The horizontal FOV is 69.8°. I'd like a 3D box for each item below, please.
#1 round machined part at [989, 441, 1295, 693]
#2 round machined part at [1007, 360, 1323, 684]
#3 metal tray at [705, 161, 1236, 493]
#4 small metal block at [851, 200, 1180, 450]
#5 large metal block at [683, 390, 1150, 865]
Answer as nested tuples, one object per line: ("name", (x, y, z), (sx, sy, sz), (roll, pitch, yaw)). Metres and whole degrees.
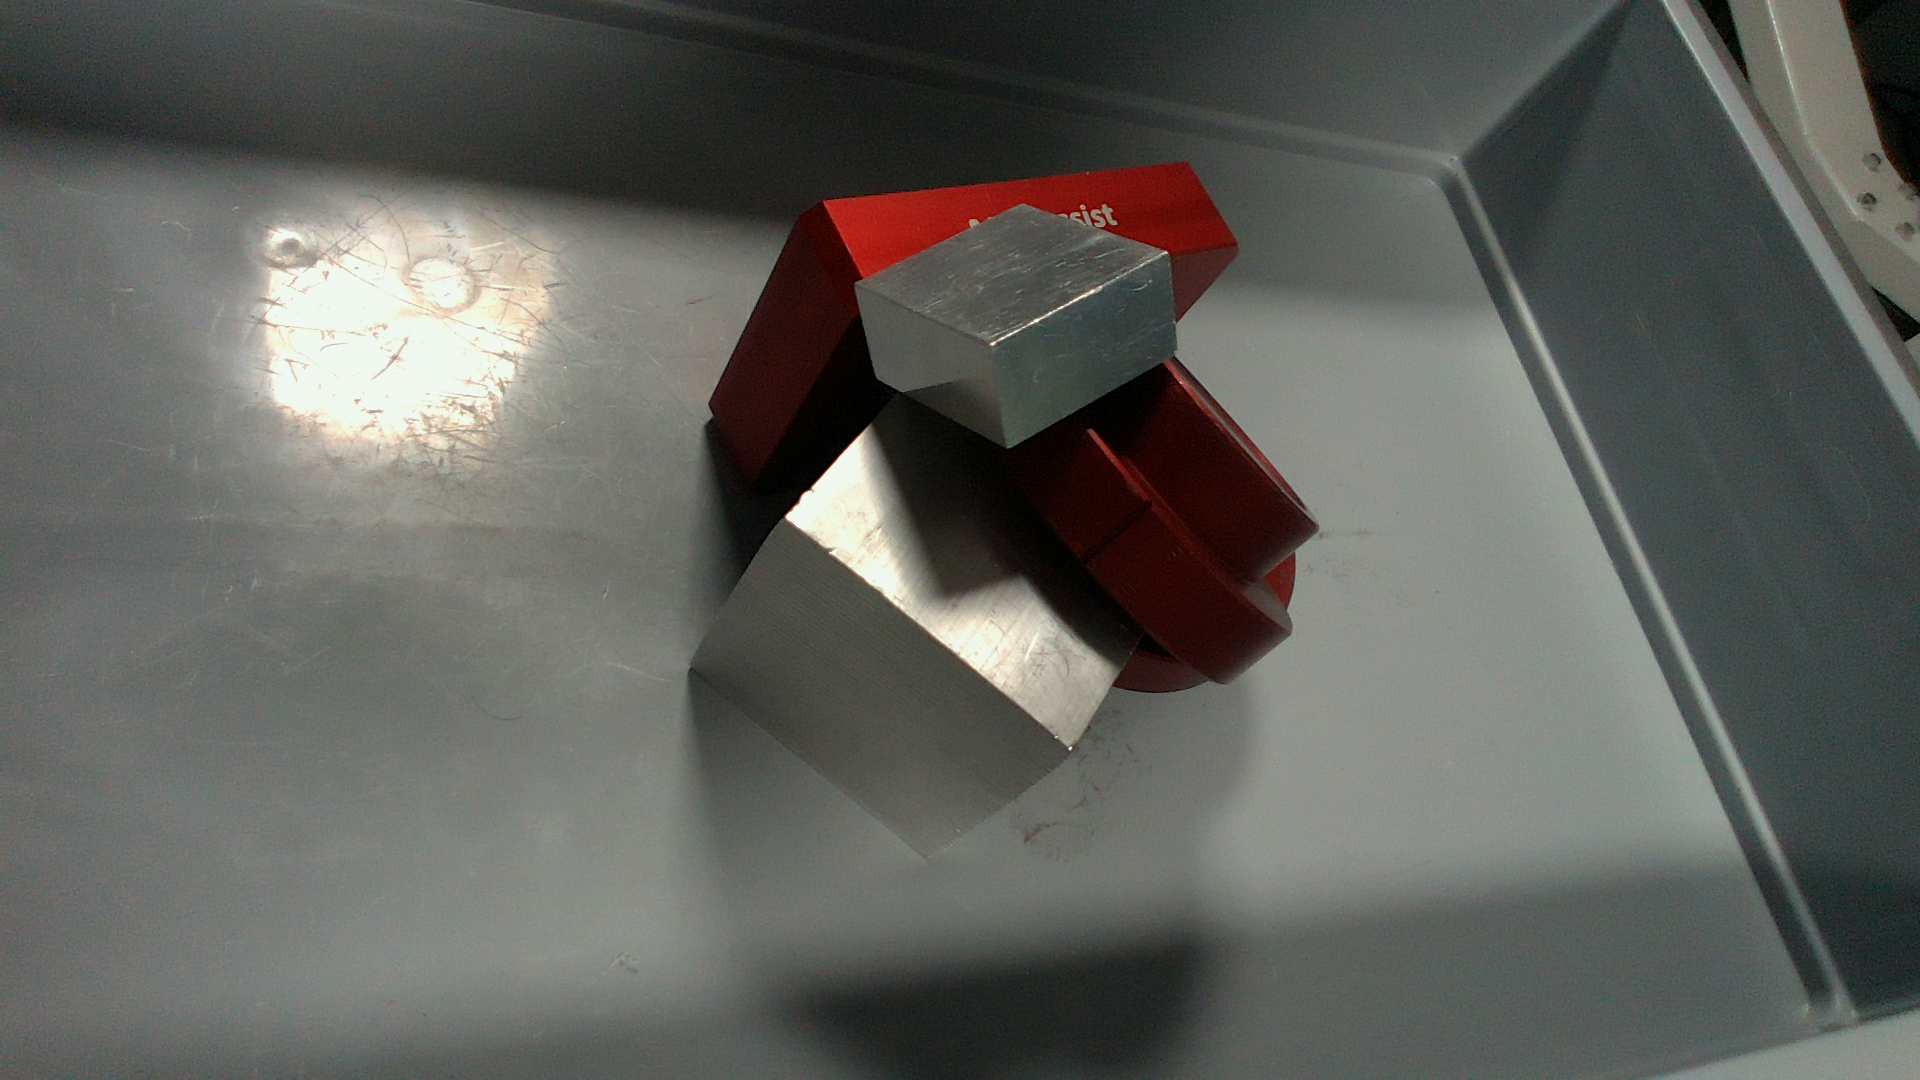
("round machined part", (0.045, 0.000, 0.403), (0.098, 0.042, 0.098), (14, 56, -21))
("round machined part", (0.051, -0.015, 0.340), (0.098, 0.042, 0.098), (46, 13, -13))
("metal tray", (0.004, -0.060, 0.384), (0.130, 0.090, 0.030), (-16, 70, -34))
("small metal block", (0.012, -0.050, 0.307), (0.050, 0.025, 0.050), (-31, 39, -25))
("large metal block", (-0.011, 0.023, 0.333), (0.080, 0.080, 0.050), (39, 51, -1))
